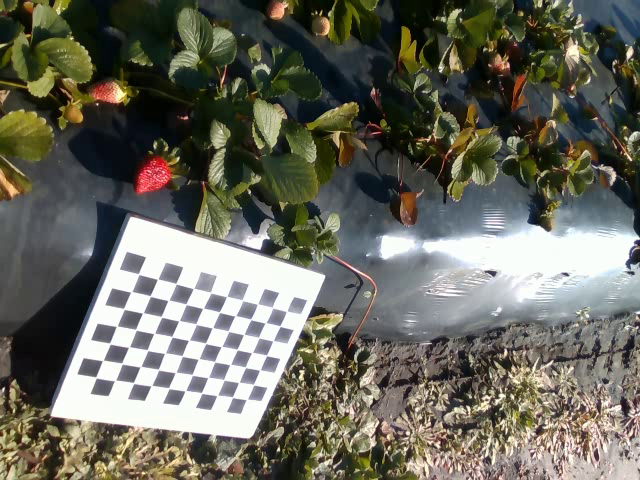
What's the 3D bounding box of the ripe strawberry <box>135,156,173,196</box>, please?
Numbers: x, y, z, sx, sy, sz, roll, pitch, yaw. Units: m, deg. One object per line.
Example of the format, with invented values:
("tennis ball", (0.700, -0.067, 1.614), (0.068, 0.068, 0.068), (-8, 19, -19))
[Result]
("ripe strawberry", (-0.203, -0.076, 0.699), (0.058, 0.066, 0.062), (-15, 31, 9))
